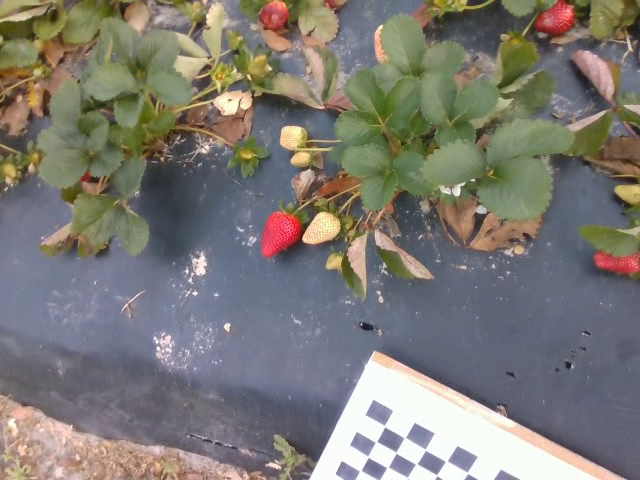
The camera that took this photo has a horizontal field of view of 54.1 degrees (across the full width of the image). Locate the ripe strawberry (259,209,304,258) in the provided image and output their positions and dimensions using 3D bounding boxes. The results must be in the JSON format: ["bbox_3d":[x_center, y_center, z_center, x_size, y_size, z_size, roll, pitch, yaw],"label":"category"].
[{"bbox_3d":[-0.044,-0.006,0.654,0.050,0.059,0.034,18,-24,18],"label":"ripe strawberry"}]
